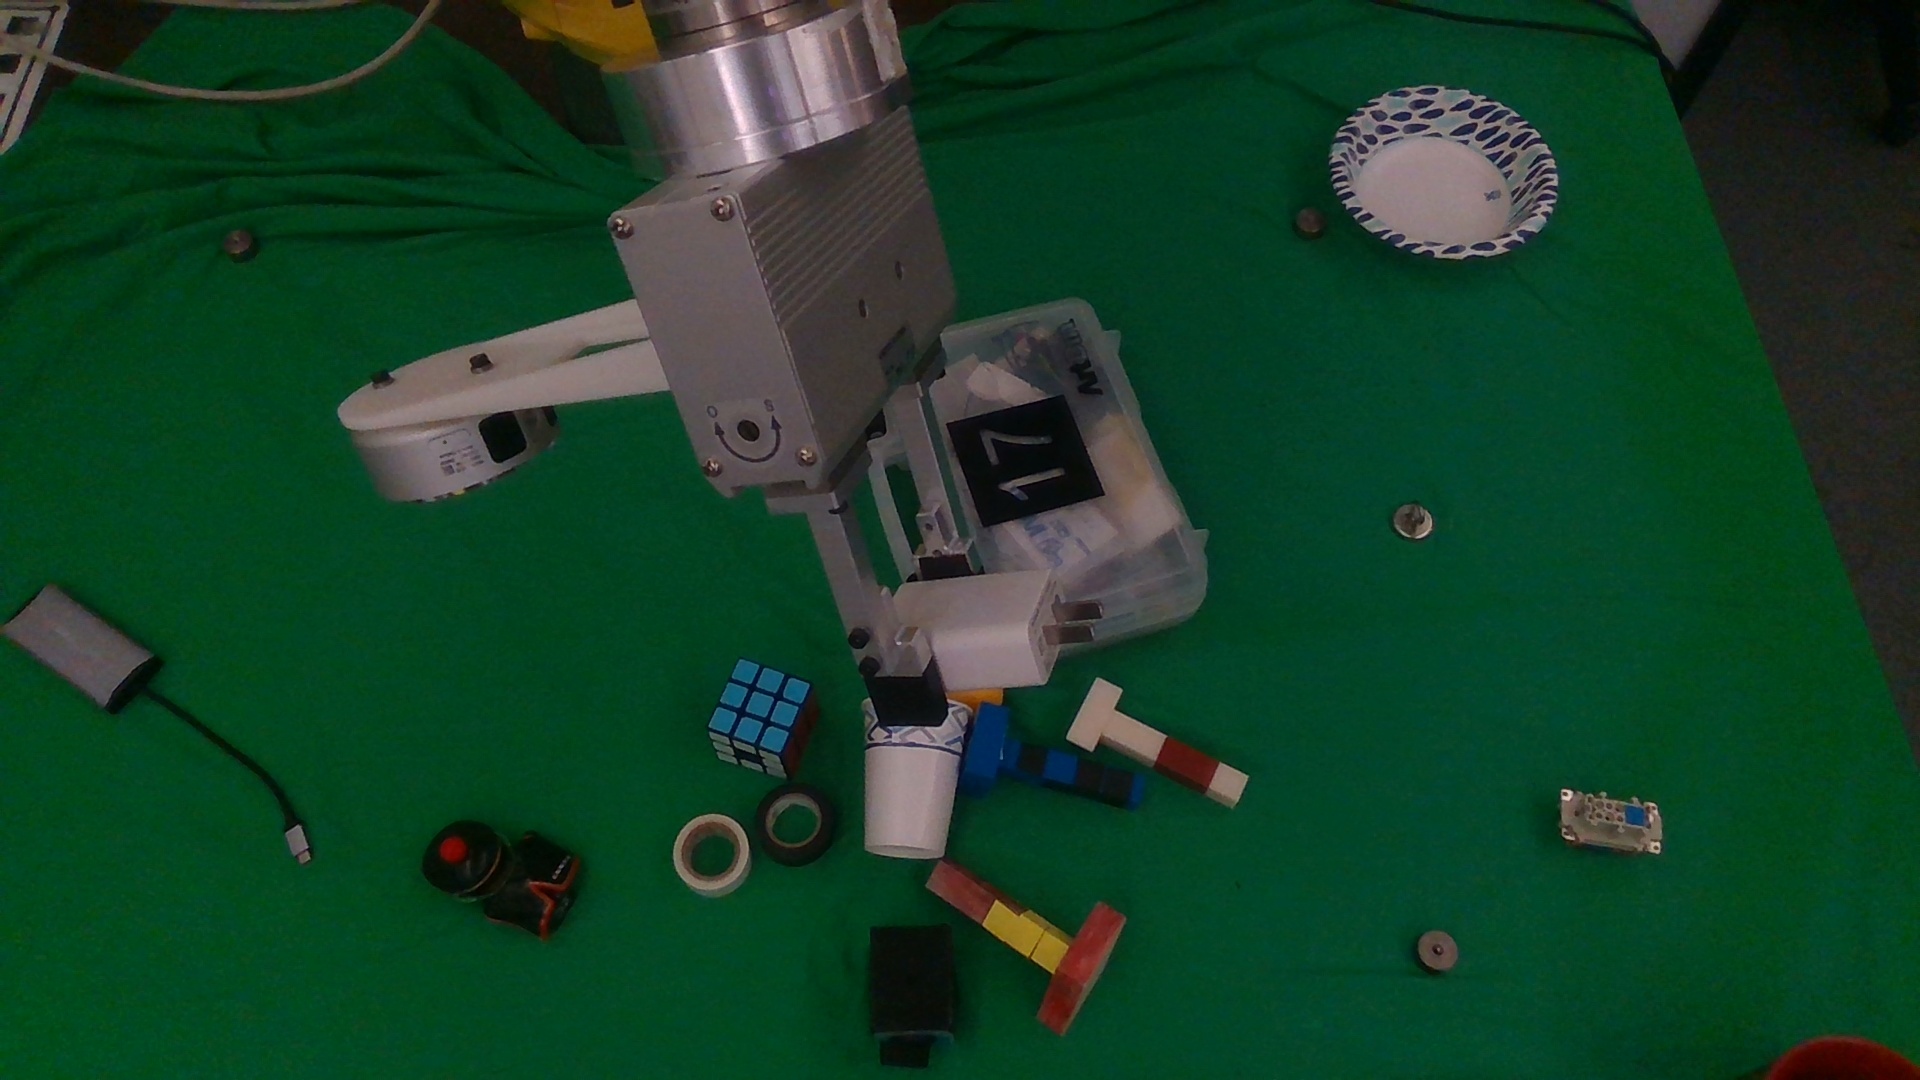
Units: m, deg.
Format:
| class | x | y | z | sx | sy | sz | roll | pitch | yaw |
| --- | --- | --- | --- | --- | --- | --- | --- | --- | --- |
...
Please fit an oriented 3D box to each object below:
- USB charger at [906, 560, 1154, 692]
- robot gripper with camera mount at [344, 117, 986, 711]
| class | x | y | z | sx | sy | sz | roll | pitch | yaw |
| --- | --- | --- | --- | --- | --- | --- | --- | --- | --- |
| USB charger | 0.022 | 0.026 | 0.433 | 0.076 | 0.029 | 0.044 | -6 | 27 | 18 |
| robot gripper with camera mount | -0.094 | -0.019 | 0.425 | 0.194 | 0.158 | 0.119 | -5 | 29 | 18 |
